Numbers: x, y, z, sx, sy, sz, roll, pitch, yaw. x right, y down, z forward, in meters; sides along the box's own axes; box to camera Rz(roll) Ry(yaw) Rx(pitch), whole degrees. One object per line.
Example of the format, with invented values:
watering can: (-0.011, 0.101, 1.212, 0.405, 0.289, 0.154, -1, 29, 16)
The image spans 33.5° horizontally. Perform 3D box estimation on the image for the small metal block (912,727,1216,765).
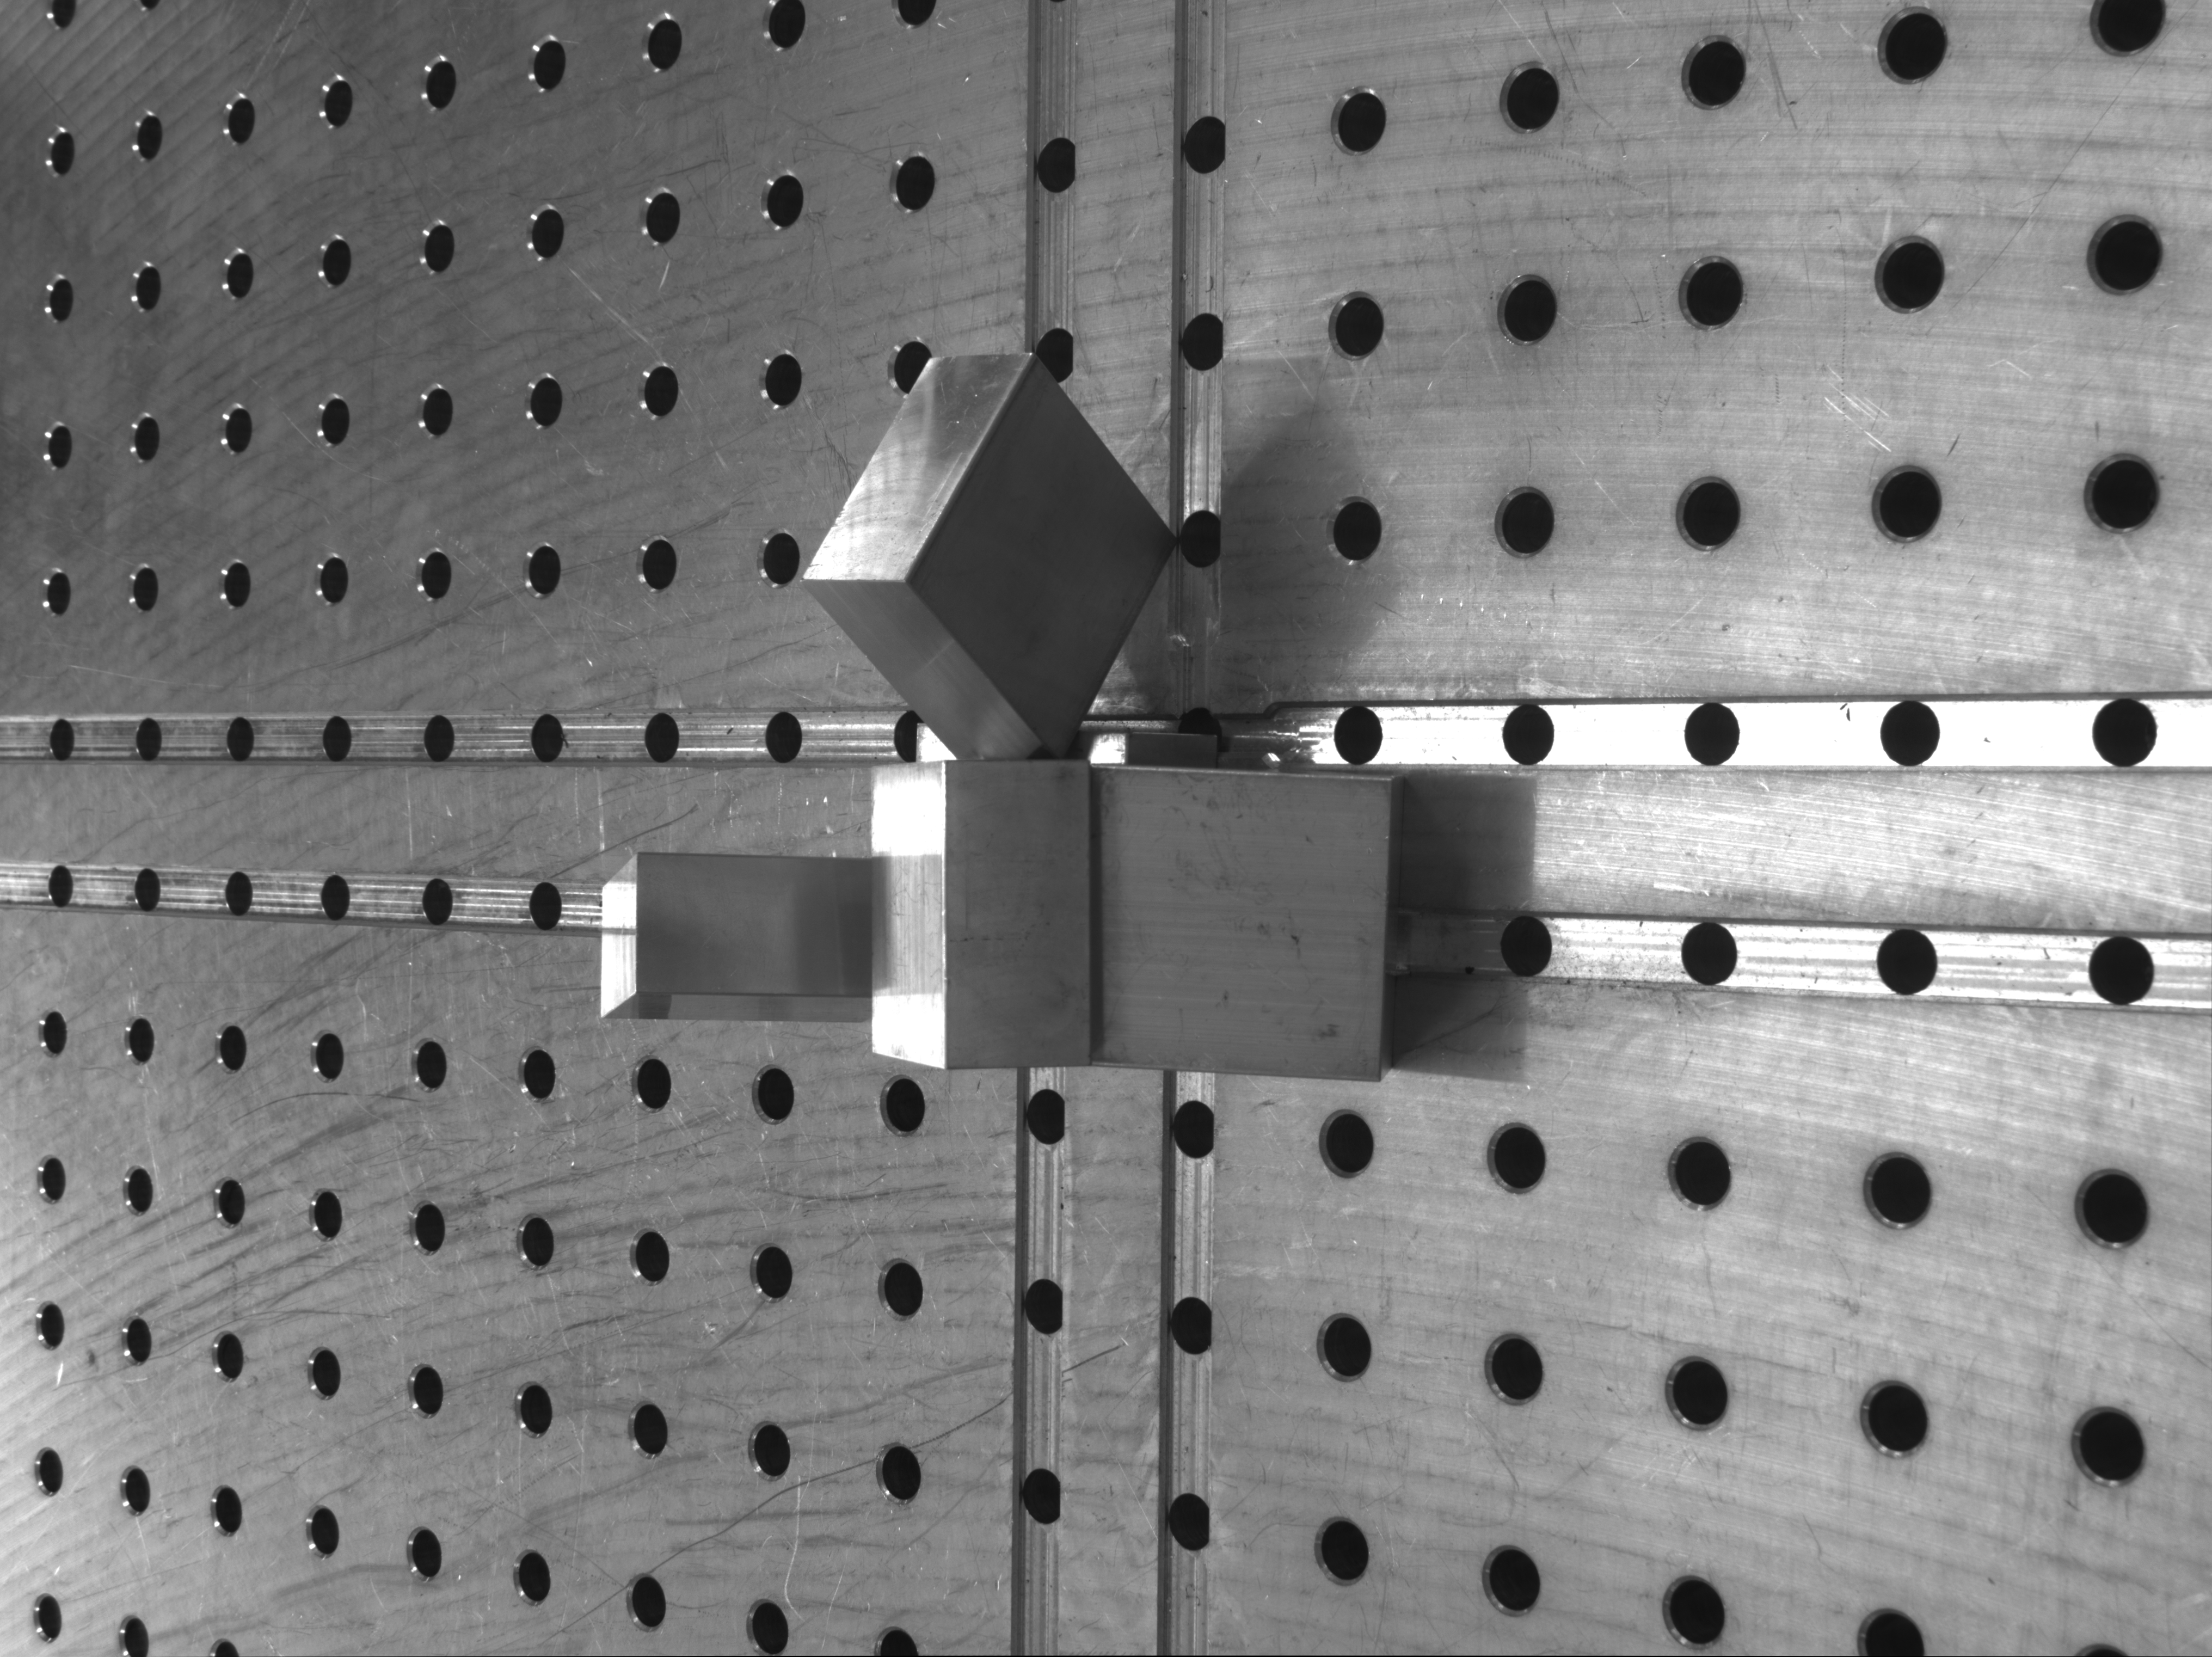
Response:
small metal block: (-0.009, 0.007, 0.657, 0.050, 0.025, 0.050, 3, 92, 40)

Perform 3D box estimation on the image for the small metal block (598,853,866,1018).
small metal block: (-0.065, 0.021, 0.674, 0.050, 0.050, 0.025, 153, 118, -73)

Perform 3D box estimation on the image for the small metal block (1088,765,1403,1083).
small metal block: (0.023, 0.015, 0.615, 0.050, 0.025, 0.050, 2, 91, 9)

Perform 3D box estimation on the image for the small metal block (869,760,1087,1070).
small metal block: (-0.022, 0.014, 0.620, 0.050, 0.025, 0.050, 178, 92, -73)

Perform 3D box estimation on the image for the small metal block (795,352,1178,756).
small metal block: (-0.020, -0.046, 0.636, 0.025, 0.050, 0.050, 4, 56, 41)
